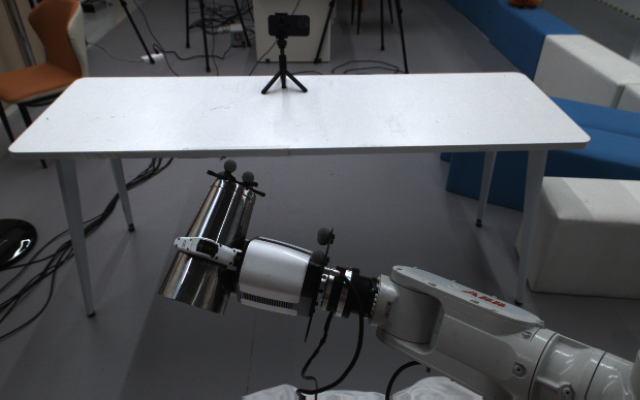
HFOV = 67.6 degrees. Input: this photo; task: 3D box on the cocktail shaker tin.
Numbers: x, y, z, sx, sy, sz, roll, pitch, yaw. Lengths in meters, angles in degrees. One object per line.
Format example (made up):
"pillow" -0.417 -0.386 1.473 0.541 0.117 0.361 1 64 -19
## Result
"cocktail shaker tin" -0.149 0.062 0.667 0.093 0.093 0.170 14 74 17
